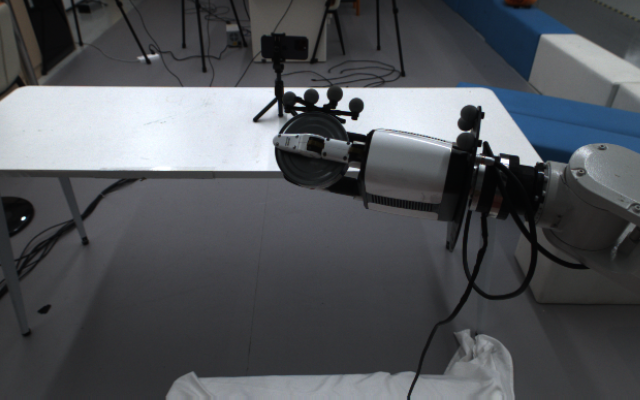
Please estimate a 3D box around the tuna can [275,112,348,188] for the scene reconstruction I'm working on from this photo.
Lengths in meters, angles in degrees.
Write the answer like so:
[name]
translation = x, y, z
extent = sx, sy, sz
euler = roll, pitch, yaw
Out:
[tuna can]
translation = -0.005, -0.059, 0.556
extent = 0.085, 0.085, 0.034
euler = 11, -6, 12
